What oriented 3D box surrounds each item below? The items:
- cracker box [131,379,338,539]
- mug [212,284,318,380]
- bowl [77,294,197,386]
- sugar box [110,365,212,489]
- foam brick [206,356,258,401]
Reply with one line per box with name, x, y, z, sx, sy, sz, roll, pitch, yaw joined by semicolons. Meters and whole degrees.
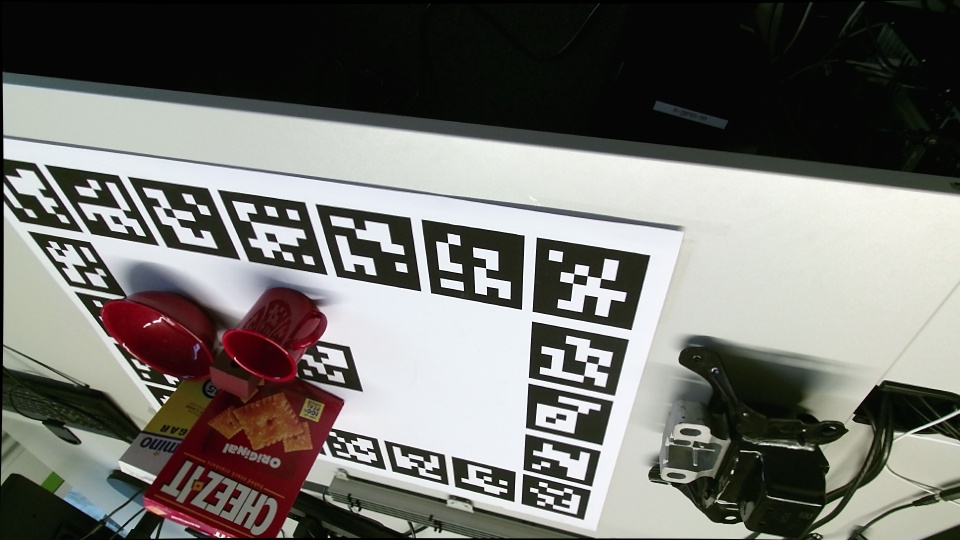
cracker box;-0.319;0.247;0.725;0.164;0.213;0.072;31;135;-8
mug;-0.244;0.071;0.628;0.117;0.081;0.093;0;138;16
bowl;-0.440;0.084;0.715;0.162;0.055;0.162;9;132;11
sugar box;-0.422;0.230;0.768;0.093;0.176;0.045;24;133;-3
foam brick;-0.319;0.123;0.713;0.053;0.078;0.051;19;134;1
